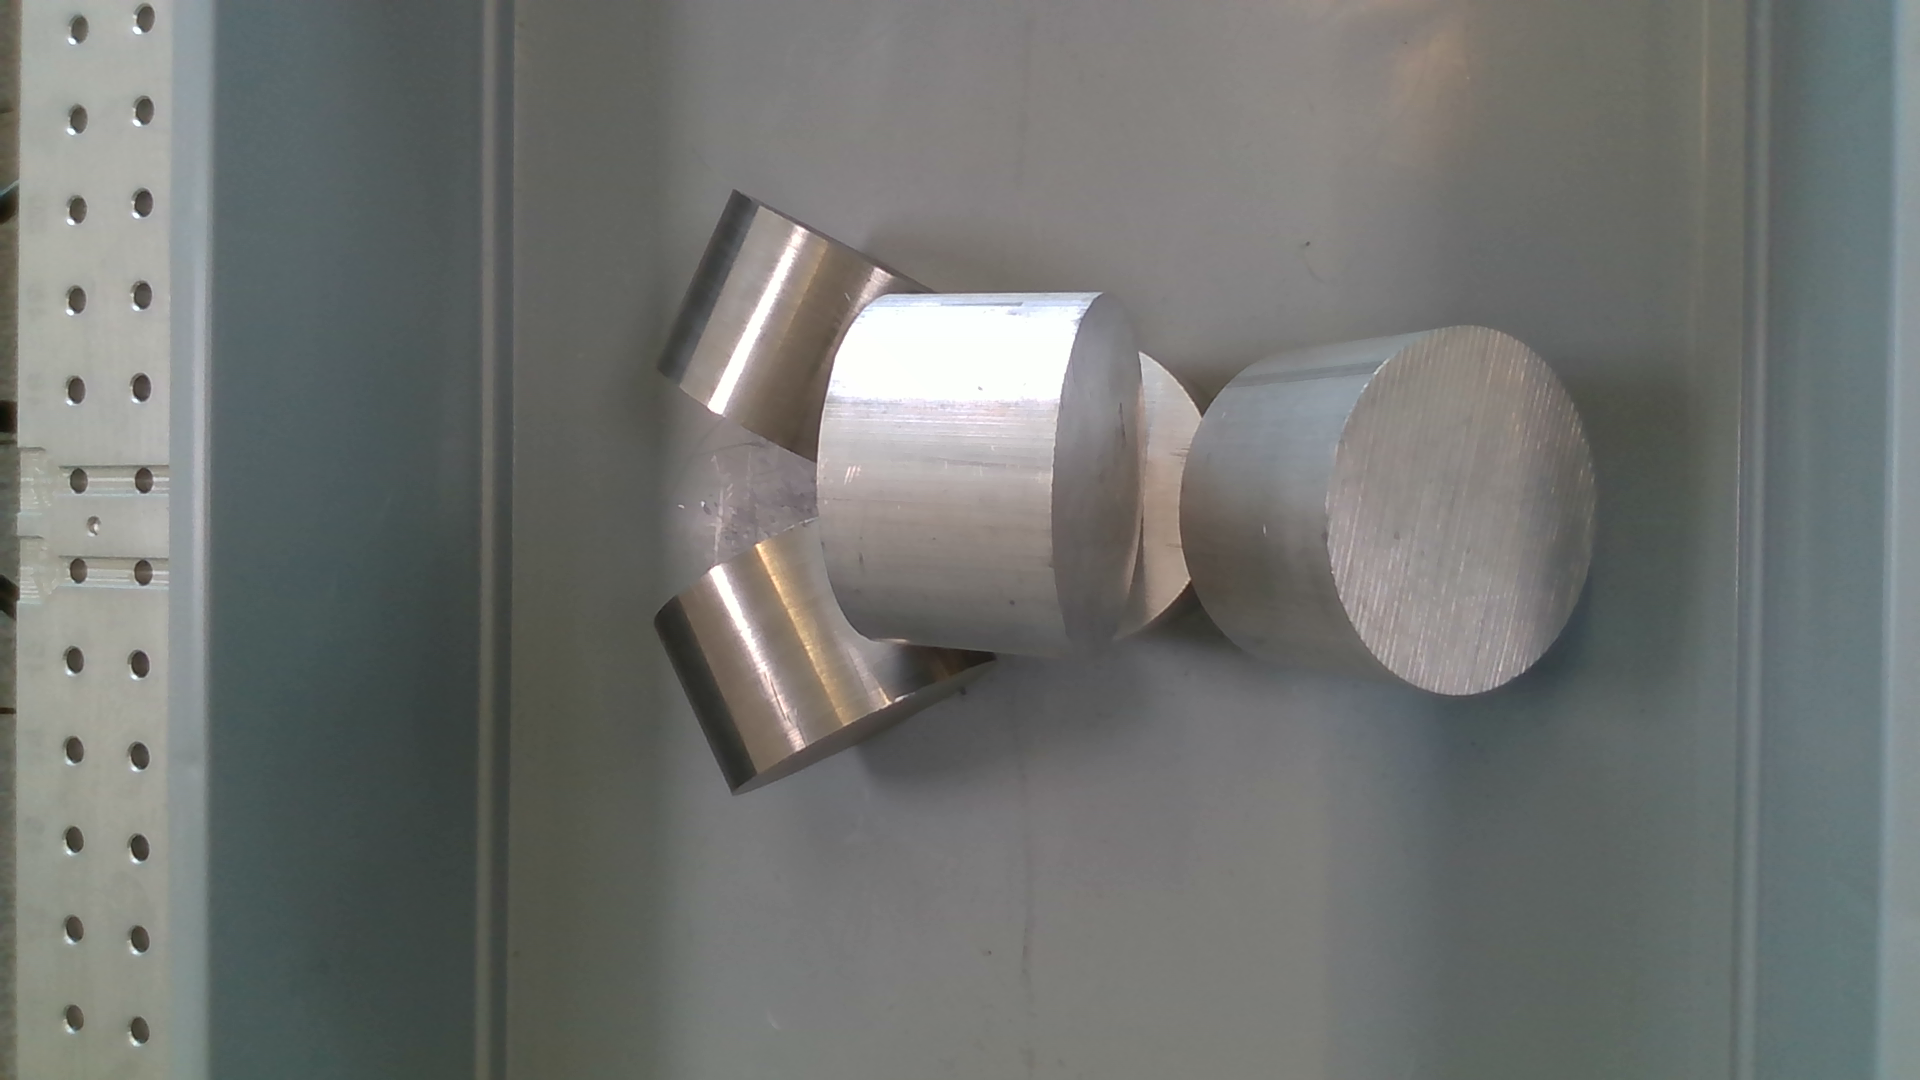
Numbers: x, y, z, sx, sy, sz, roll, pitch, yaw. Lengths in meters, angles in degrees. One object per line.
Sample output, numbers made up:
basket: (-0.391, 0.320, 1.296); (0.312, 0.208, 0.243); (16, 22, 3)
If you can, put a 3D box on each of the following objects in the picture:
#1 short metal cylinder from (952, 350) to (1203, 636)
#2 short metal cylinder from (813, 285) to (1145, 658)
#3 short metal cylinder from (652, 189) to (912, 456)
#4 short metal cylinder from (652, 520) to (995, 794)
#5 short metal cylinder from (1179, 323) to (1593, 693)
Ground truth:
short metal cylinder: (0.033, -0.013, 0.366); (0.080, 0.050, 0.080); (0, 90, 20)
short metal cylinder: (0.008, -0.016, 0.307); (0.050, 0.080, 0.080); (3, 91, 20)
short metal cylinder: (-0.037, -0.055, 0.376); (0.080, 0.080, 0.050); (30, 100, 17)
short metal cylinder: (-0.037, 0.029, 0.377); (0.080, 0.080, 0.050); (-30, 79, 18)
short metal cylinder: (0.099, -0.008, 0.321); (0.050, 0.080, 0.080); (7, 93, 63)
